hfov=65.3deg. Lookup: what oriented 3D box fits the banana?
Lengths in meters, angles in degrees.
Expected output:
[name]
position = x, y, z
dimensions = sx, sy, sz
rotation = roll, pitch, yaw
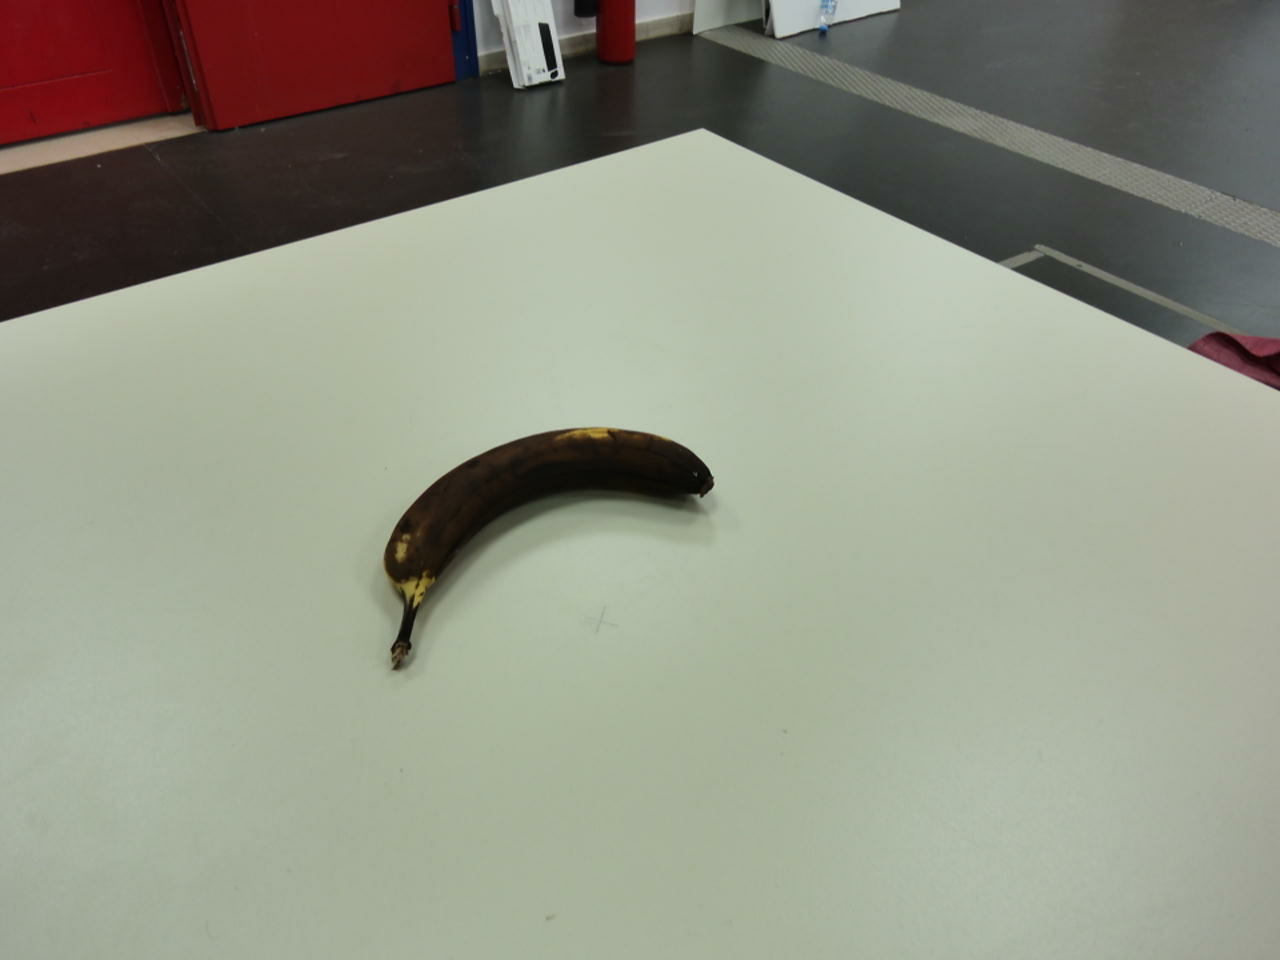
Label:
[banana]
position = -0.057, 0.013, 0.498
dimensions = 0.188, 0.034, 0.091
rotation = -24, 44, -29
